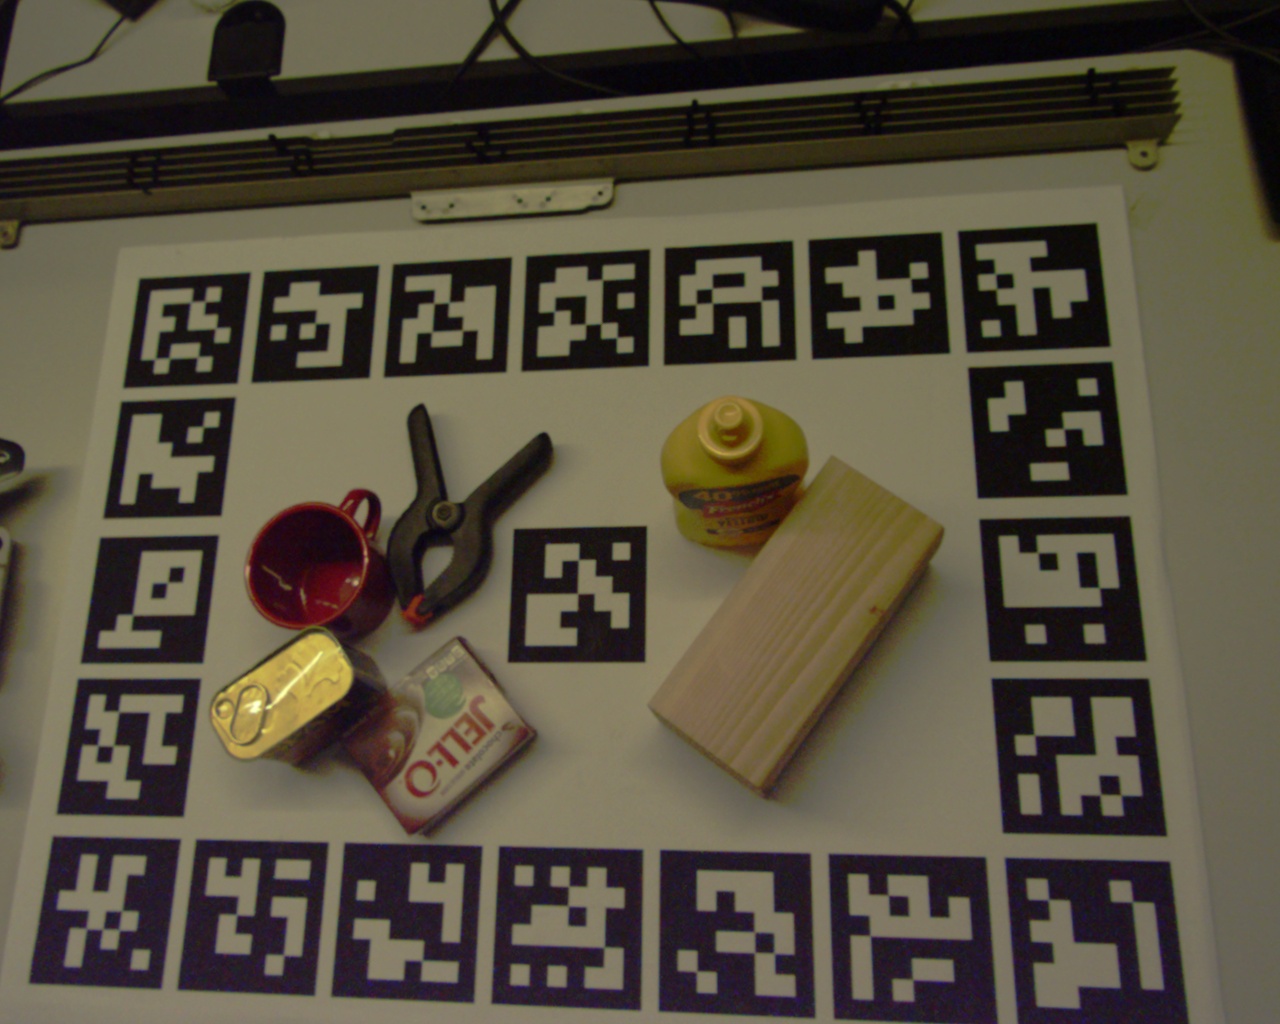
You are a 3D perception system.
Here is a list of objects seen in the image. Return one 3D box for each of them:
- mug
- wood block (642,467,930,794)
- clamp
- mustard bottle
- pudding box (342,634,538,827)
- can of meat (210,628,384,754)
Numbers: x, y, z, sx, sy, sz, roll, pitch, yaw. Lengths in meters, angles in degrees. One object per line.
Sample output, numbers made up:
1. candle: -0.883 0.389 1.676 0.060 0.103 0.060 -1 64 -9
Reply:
1. mug: -0.230 0.038 0.886 0.094 0.081 0.117 21 80 13
2. wood block: 0.102 0.084 0.798 0.090 0.090 0.206 36 80 18
3. clamp: -0.147 -0.001 0.890 0.122 0.036 0.165 18 80 11
4. mustard bottle: 0.055 -0.030 0.780 0.096 0.190 0.058 -6 74 7
5. pudding box: -0.145 0.160 0.838 0.113 0.038 0.090 -40 73 -5
6. can of meat: -0.246 0.134 0.832 0.102 0.083 0.058 -31 74 -1
